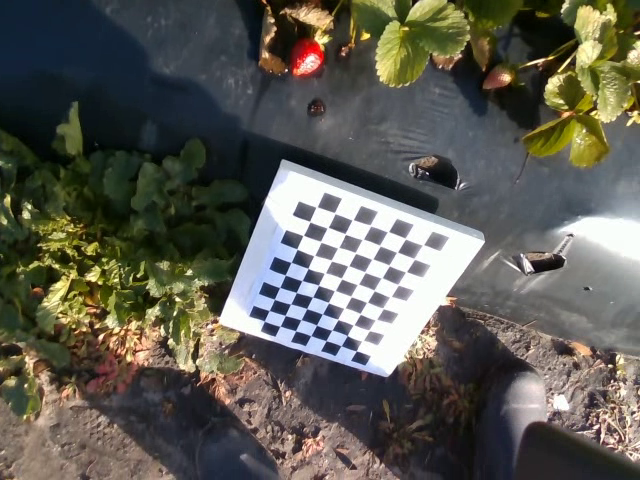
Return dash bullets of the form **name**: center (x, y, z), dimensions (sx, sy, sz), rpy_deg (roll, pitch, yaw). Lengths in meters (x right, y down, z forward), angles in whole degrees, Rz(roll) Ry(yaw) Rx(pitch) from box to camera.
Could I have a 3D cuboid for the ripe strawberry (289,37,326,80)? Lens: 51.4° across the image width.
- **ripe strawberry**: center (-0.019, -0.175, 0.642), dimensions (0.046, 0.054, 0.037), rpy_deg (38, -15, -22)
